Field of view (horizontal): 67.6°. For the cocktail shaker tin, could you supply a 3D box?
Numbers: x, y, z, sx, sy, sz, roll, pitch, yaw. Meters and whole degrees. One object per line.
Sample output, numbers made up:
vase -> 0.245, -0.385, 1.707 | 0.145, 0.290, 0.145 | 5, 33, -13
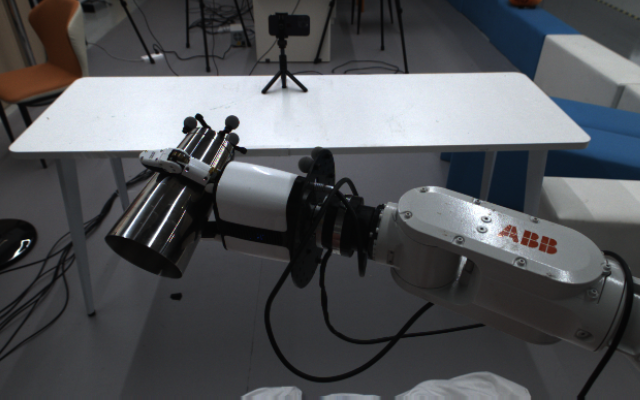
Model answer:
cocktail shaker tin -> -0.167, -0.004, 0.575 | 0.093, 0.093, 0.170 | 13, 58, 16
